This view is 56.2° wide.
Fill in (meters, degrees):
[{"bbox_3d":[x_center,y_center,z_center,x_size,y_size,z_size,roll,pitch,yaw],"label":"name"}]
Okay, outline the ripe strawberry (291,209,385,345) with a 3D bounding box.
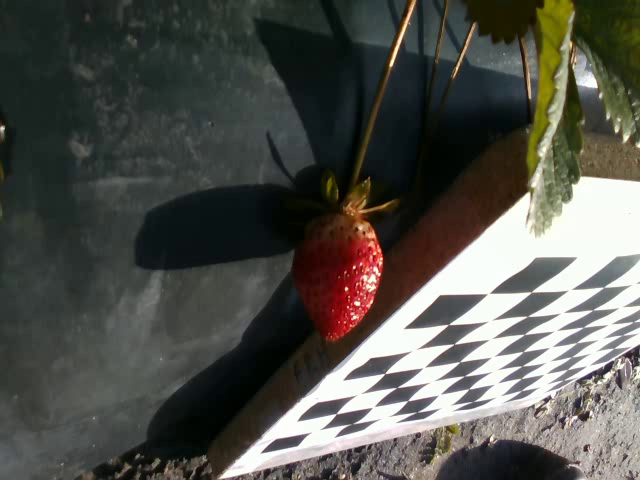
[{"bbox_3d":[0.005,0.011,0.156,0.034,0.038,0.033,0,3,-32],"label":"ripe strawberry"}]
